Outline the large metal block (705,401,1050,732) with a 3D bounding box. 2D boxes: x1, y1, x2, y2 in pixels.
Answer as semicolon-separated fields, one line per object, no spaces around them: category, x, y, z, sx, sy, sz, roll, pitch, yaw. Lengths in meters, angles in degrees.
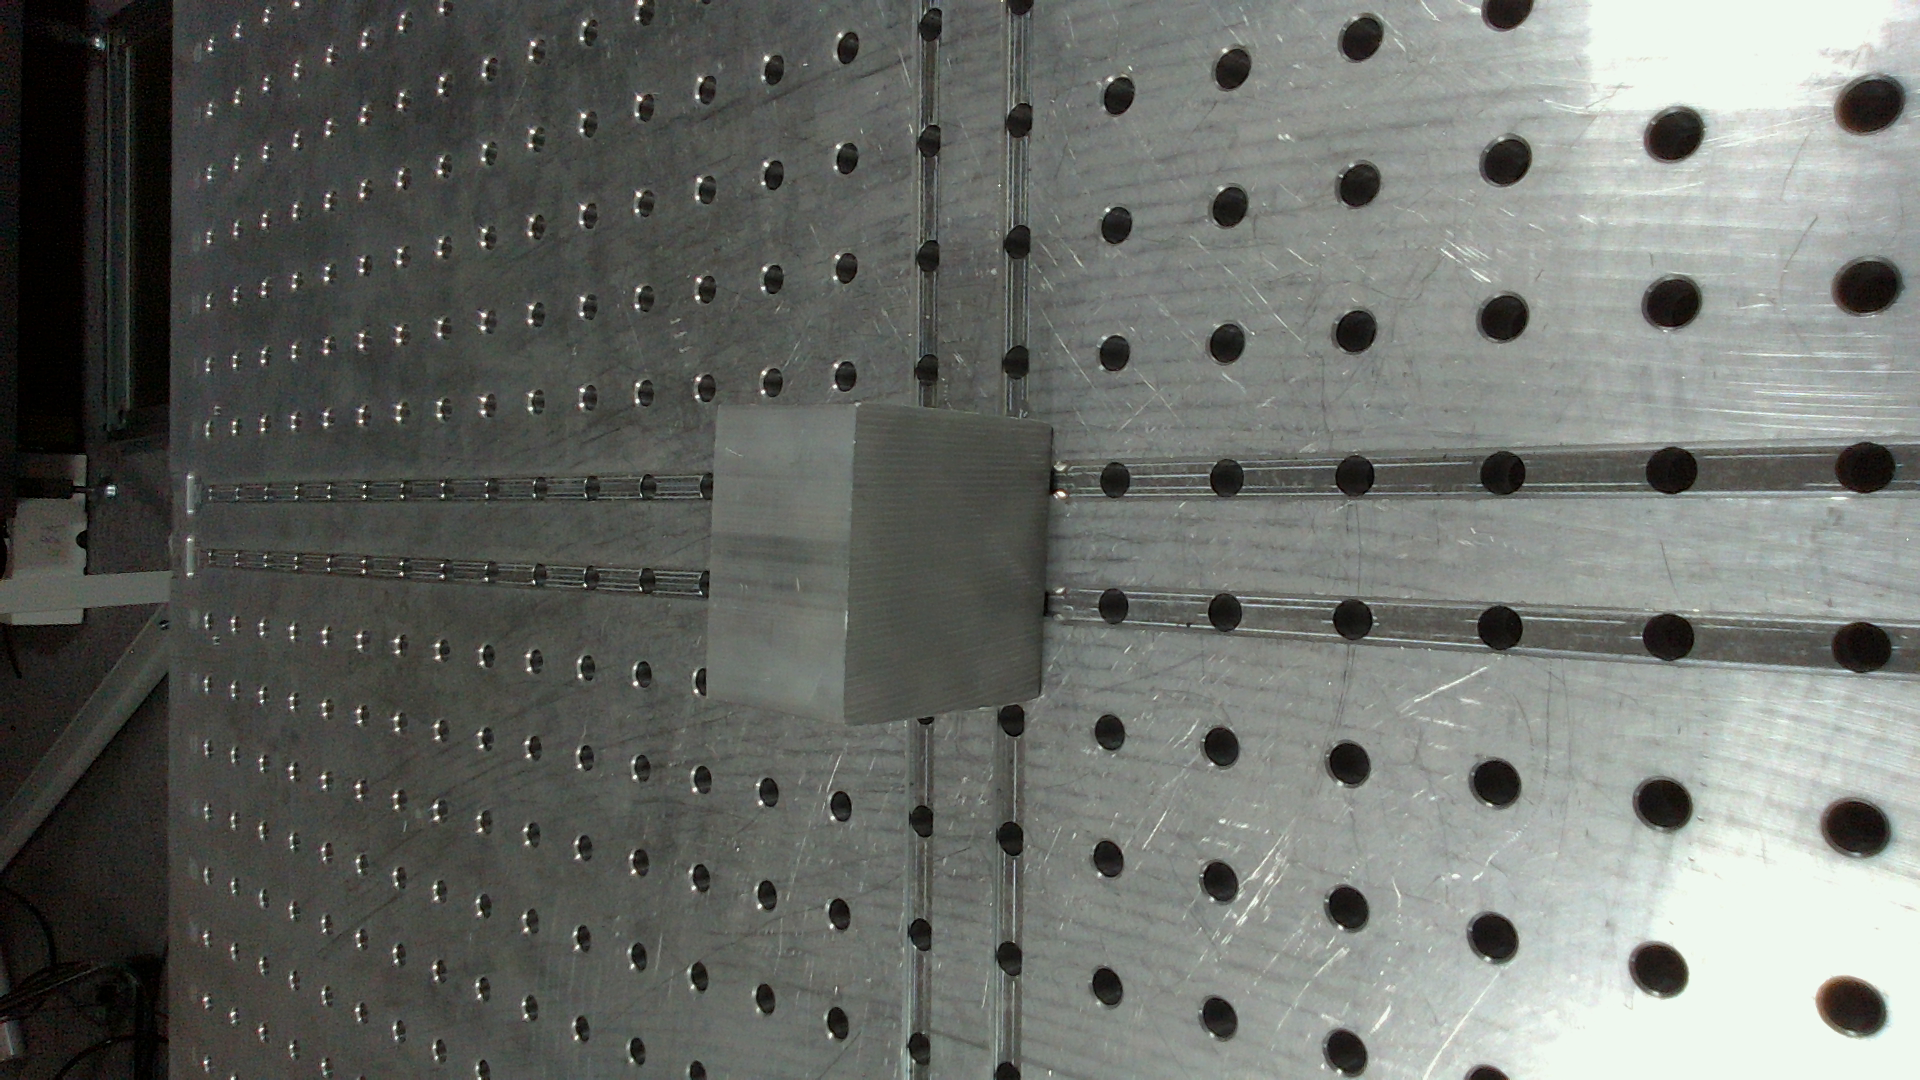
large metal block;-0.021;0.005;0.378;0.050;0.080;0.080;4;93;40
